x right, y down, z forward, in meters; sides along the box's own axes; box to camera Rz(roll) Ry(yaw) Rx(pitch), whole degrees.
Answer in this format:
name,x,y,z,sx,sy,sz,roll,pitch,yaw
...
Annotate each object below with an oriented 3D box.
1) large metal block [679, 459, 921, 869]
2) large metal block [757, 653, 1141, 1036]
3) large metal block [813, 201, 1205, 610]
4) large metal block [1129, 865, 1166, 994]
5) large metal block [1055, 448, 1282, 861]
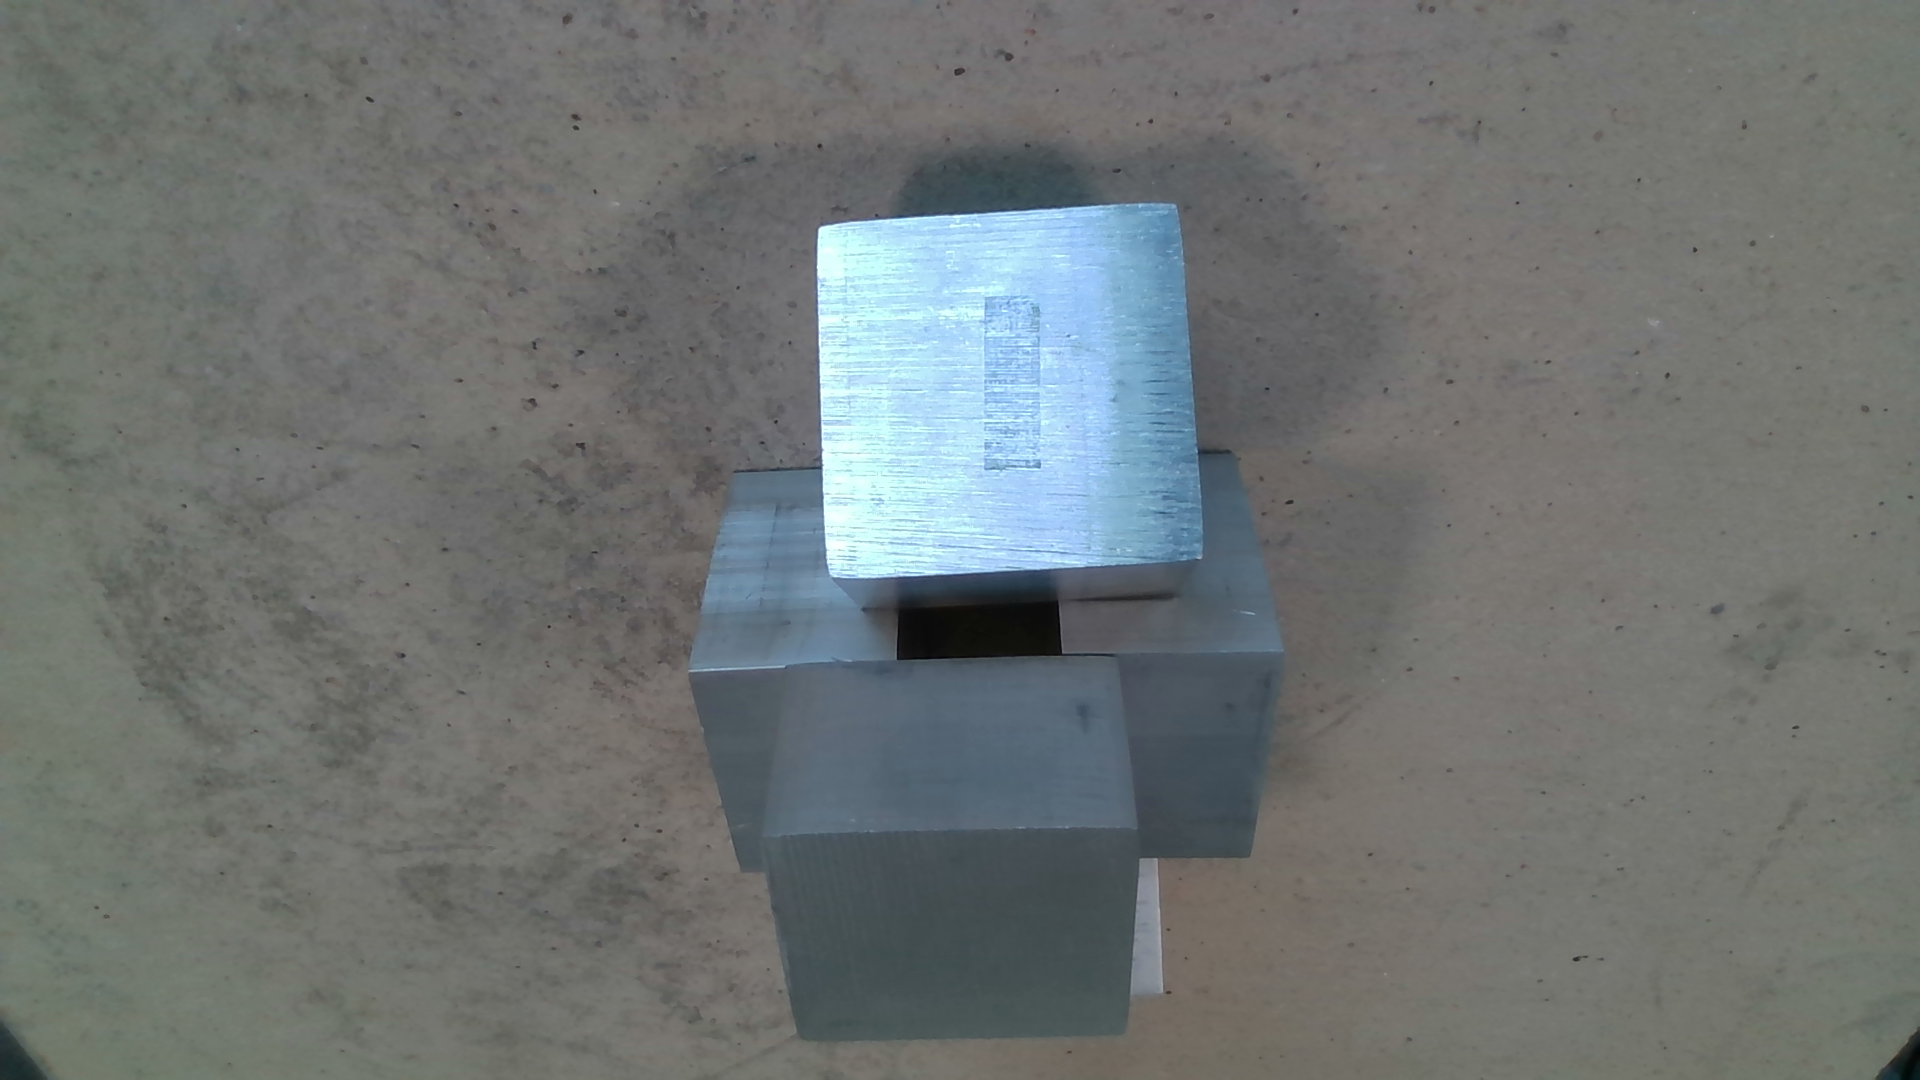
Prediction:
name,x,y,z,sx,sy,sz,roll,pitch,yaw
large metal block,-0.039,0.033,0.383,0.050,0.080,0.080,-3,130,2
large metal block,-0.001,0.074,0.331,0.080,0.050,0.080,-2,130,1
large metal block,0.011,-0.028,0.320,0.080,0.080,0.050,-3,170,2
large metal block,0.019,0.102,0.429,0.080,0.080,0.050,-3,95,2
large metal block,0.052,0.031,0.380,0.050,0.080,0.080,-2,131,1
